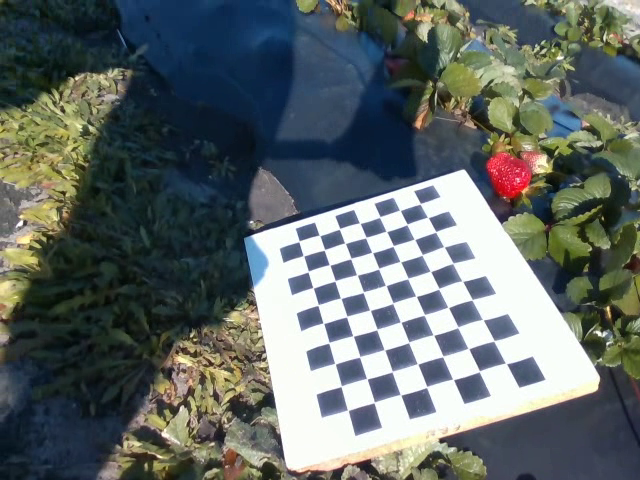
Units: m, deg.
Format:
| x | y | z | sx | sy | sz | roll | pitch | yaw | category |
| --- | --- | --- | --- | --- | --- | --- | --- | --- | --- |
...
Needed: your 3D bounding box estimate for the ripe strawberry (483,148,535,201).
| x | y | z | sx | sy | sz | roll | pitch | yaw | category |
| --- | --- | --- | --- | --- | --- | --- | --- | --- | --- |
| 0.213 | -0.074 | 0.689 | 0.058 | 0.065 | 0.061 | -7 | -49 | 49 | ripe strawberry |
